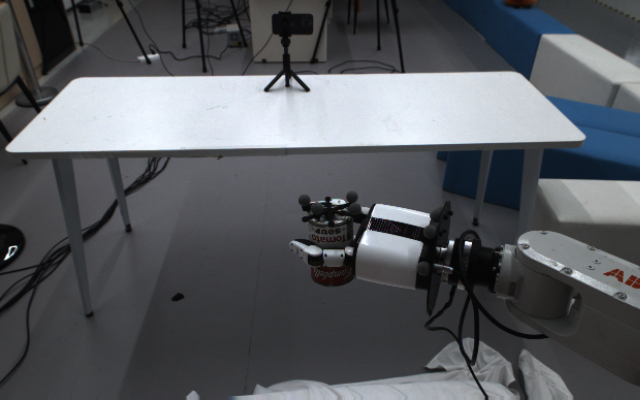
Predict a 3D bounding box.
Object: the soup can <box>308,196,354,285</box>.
[{"bbox_3d":[0.018,0.065,0.705,0.067,0.101,0.067,-4,26,2],"label":"soup can"}]
